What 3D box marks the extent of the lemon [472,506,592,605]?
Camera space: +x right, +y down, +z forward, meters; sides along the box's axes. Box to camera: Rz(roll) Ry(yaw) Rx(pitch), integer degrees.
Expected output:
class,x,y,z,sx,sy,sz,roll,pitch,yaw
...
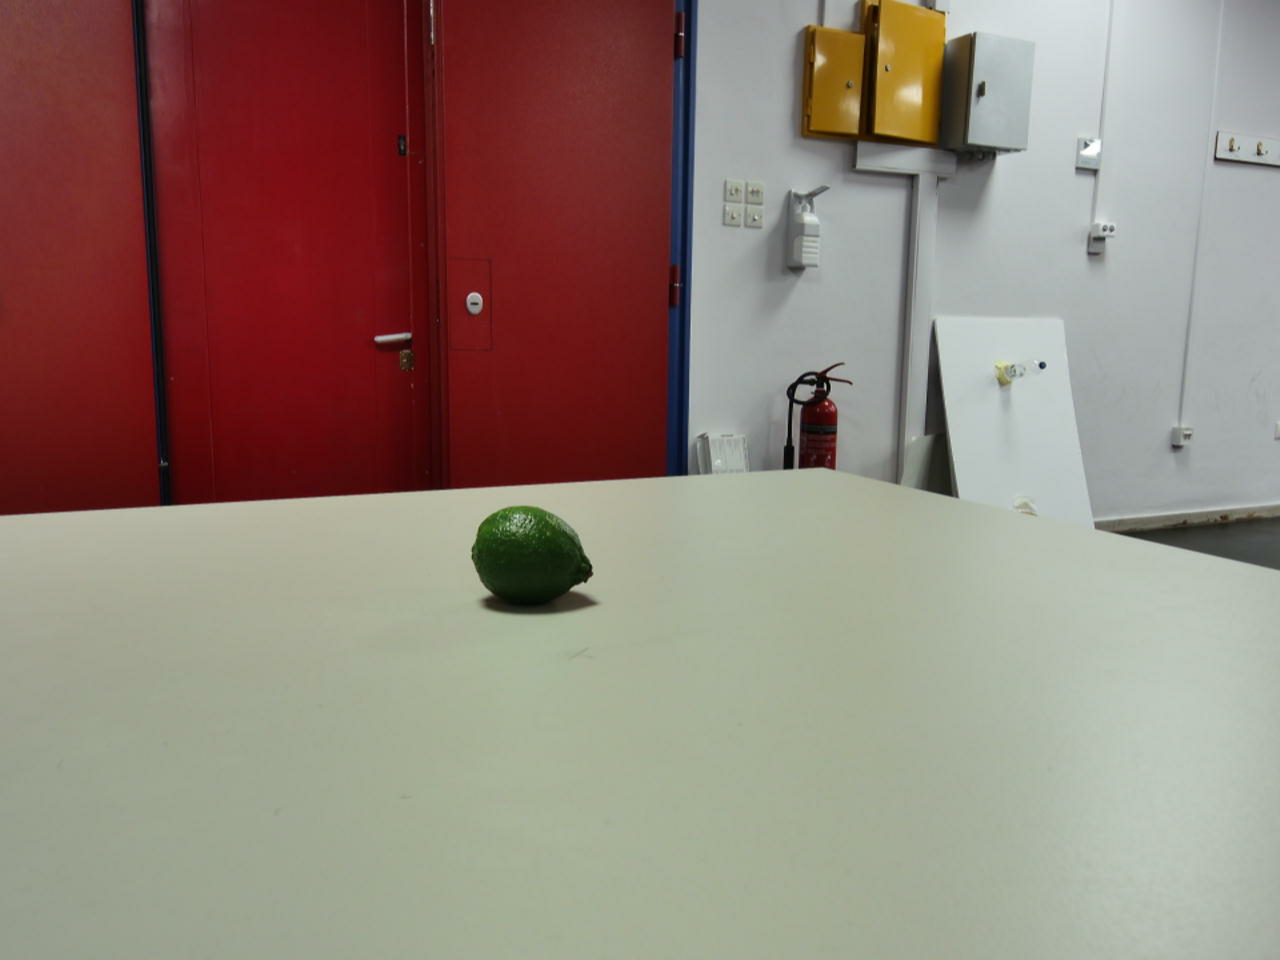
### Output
class,x,y,z,sx,sy,sz,roll,pitch,yaw
lemon,-0.059,0.039,0.525,0.057,0.051,0.054,-3,7,-28
